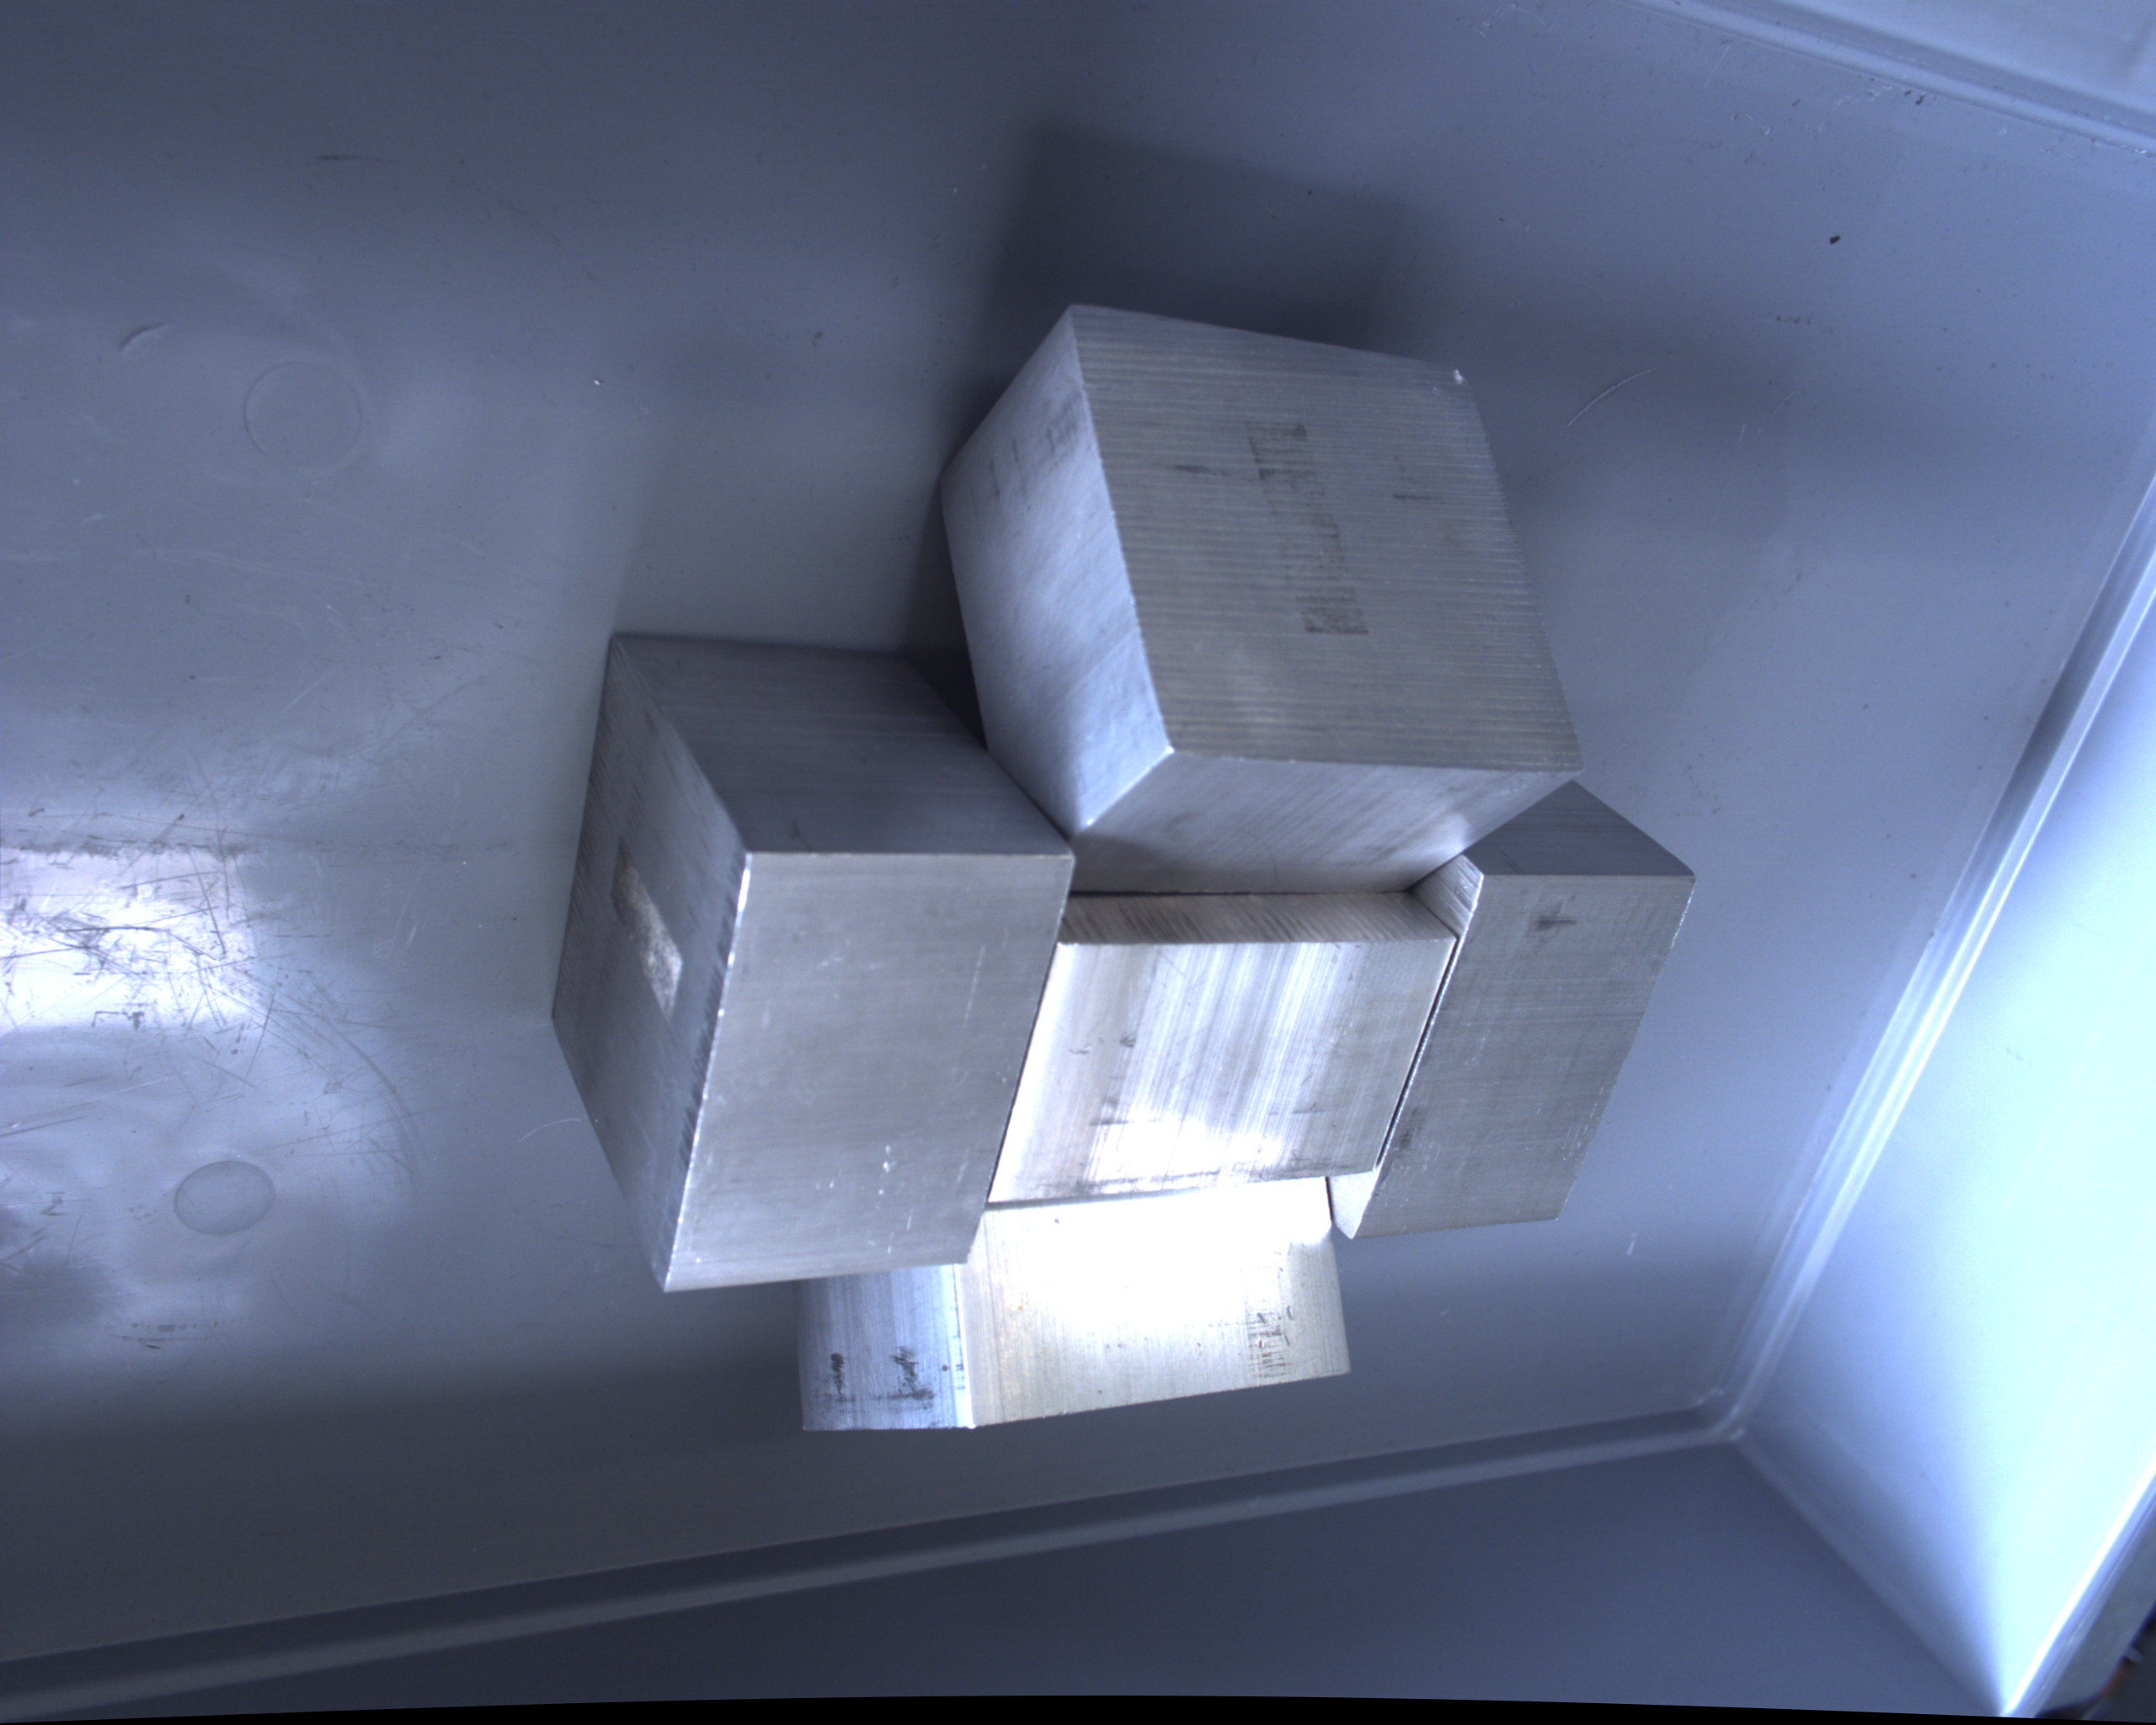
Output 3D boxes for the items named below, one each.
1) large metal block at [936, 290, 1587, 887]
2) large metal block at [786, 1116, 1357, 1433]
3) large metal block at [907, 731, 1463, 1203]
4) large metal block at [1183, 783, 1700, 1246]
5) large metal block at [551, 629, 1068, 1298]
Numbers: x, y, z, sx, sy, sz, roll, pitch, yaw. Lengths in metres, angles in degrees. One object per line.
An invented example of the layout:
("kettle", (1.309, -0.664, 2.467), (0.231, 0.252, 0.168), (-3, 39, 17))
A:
("large metal block", (0.029, -0.043, 0.353), (0.081, 0.080, 0.050), (1, 155, -29))
("large metal block", (-0.005, 0.081, 0.410), (0.081, 0.080, 0.050), (0, 77, -30))
("large metal block", (0.009, 0.016, 0.386), (0.081, 0.080, 0.050), (1, 118, -29))
("large metal block", (0.066, 0.018, 0.419), (0.050, 0.080, 0.079), (1, 118, -29))
("large metal block", (-0.050, 0.014, 0.353), (0.050, 0.080, 0.079), (1, 118, -29))
